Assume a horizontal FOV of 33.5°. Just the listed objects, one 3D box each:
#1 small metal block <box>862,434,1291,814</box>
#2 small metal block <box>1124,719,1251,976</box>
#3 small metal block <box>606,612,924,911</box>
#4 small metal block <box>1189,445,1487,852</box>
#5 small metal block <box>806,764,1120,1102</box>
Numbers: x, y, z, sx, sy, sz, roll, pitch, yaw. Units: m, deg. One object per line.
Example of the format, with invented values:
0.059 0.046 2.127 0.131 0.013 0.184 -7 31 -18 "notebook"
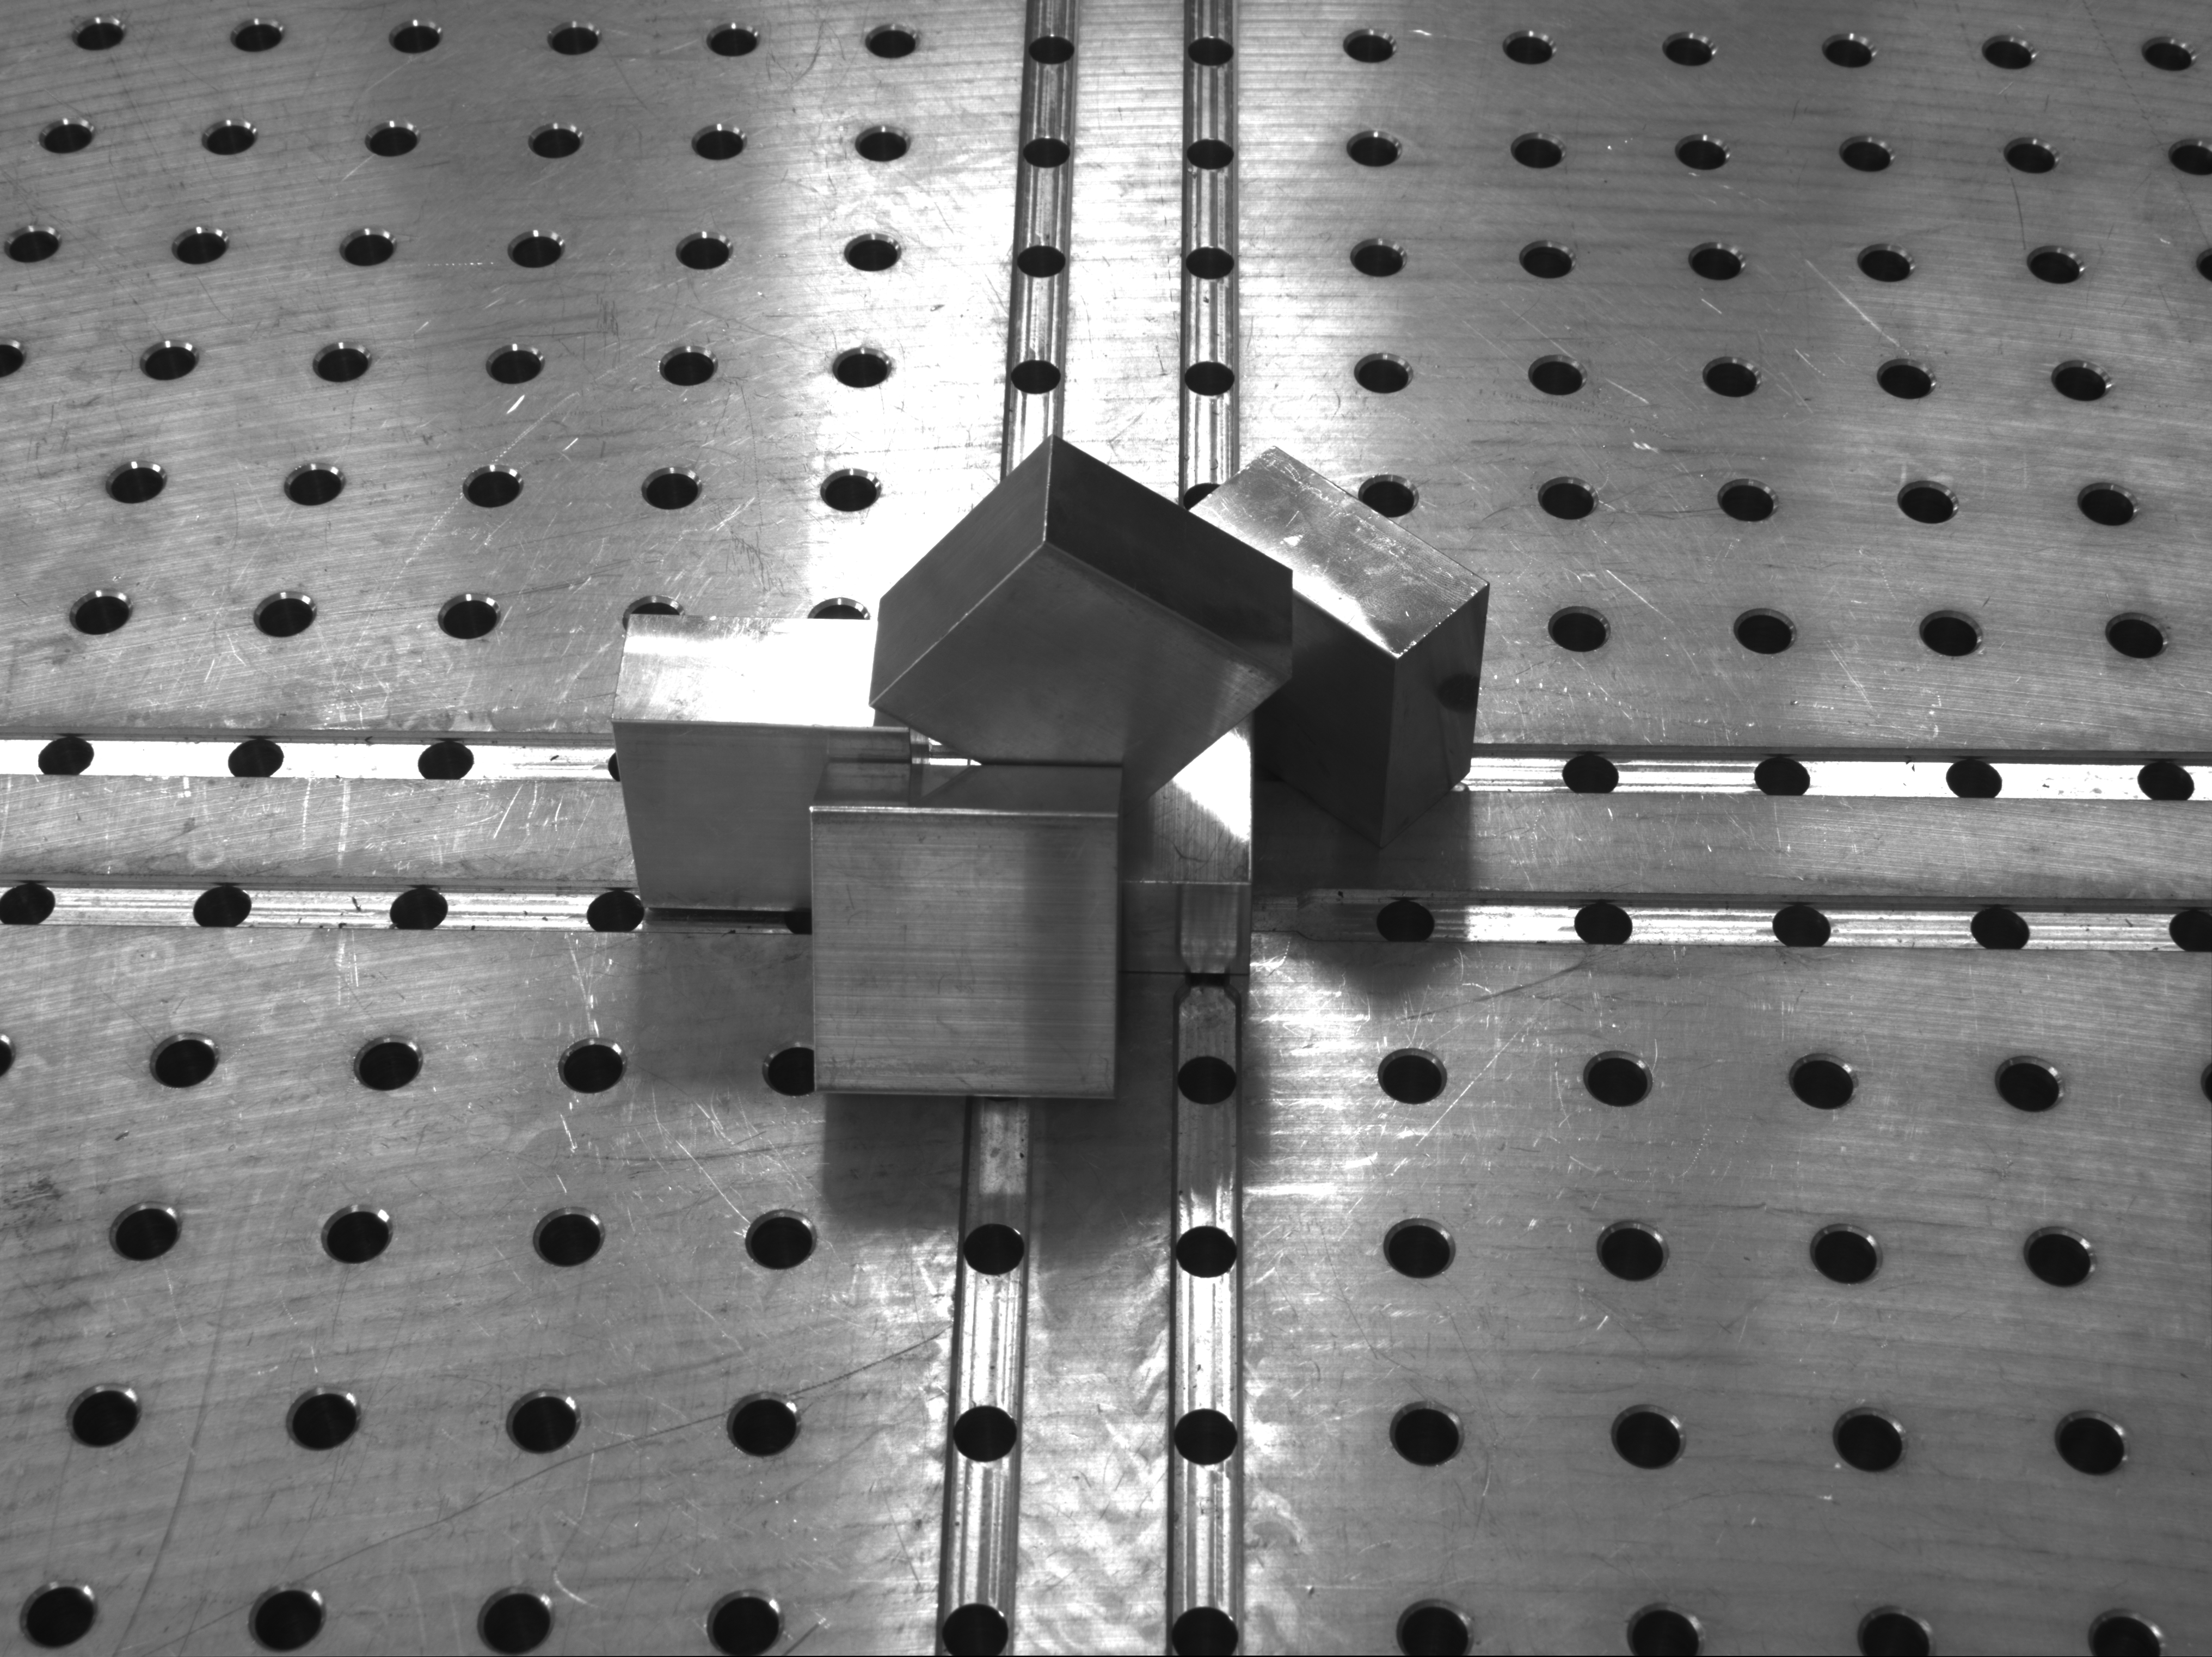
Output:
-0.005 -0.031 0.610 0.050 0.050 0.025 27 45 -26 "small metal block"
0.000 -0.002 0.647 0.050 0.025 0.050 2 50 1 "small metal block"
-0.058 -0.011 0.638 0.050 0.050 0.025 1 50 2 "small metal block"
0.039 -0.032 0.656 0.050 0.050 0.025 36 58 26 "small metal block"
-0.023 0.017 0.612 0.050 0.050 0.025 1 18 1 "small metal block"
